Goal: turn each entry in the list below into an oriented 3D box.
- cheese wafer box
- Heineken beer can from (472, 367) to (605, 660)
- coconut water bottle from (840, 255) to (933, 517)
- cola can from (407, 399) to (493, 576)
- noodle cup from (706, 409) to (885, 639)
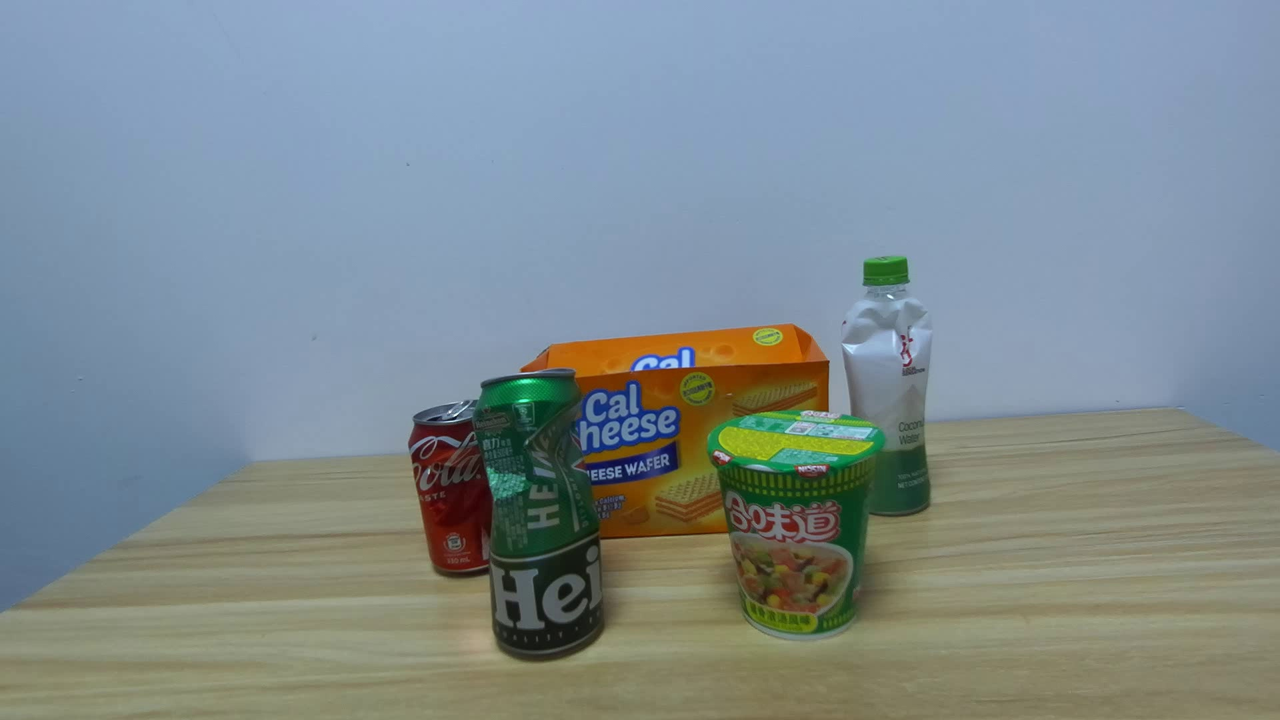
[{"bbox_3d":[0.028,0.055,0.572,0.230,0.132,0.152,-3,14,4],"label":"cheese wafer box"},{"bbox_3d":[-0.056,0.086,0.407,0.067,0.159,0.078,-6,4,-20],"label":"Heineken beer can"},{"bbox_3d":[0.183,0.020,0.528,0.069,0.186,0.069,-6,14,2],"label":"coconut water bottle"},{"bbox_3d":[-0.122,0.088,0.505,0.066,0.117,0.066,-6,13,-1],"label":"cola can"},{"bbox_3d":[0.088,0.094,0.407,0.097,0.110,0.097,-4,15,1],"label":"noodle cup"}]
